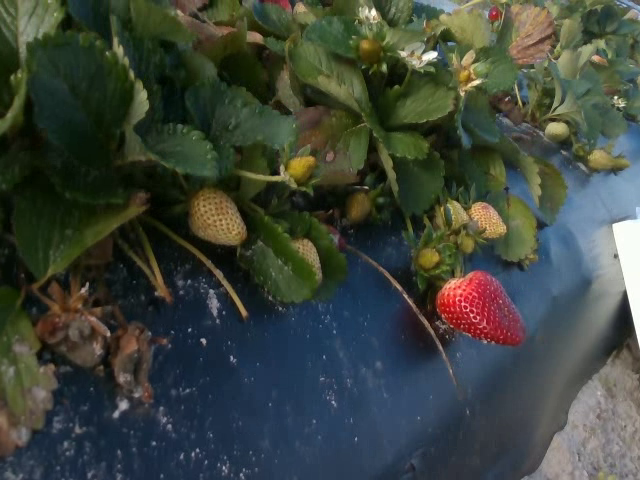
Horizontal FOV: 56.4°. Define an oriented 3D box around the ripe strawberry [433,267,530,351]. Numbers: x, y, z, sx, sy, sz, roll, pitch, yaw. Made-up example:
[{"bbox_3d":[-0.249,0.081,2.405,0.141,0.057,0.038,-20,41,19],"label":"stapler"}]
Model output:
[{"bbox_3d":[0.121,0.051,0.426,0.052,0.045,0.067,-10,43,-45],"label":"ripe strawberry"}]
